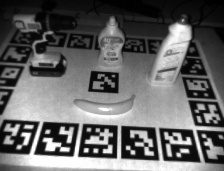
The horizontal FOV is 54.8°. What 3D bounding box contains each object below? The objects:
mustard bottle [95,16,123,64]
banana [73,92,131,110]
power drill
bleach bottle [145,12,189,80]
[{"bbox_3d":[-0.010,-0.162,0.765,0.096,0.192,0.058,-3,50,-9],"label":"mustard bottle"},{"bbox_3d":[-0.022,0.042,0.676,0.198,0.039,0.074,-3,52,-4],"label":"banana"},{"bbox_3d":[-0.198,-0.157,0.700,0.185,0.188,0.057,-4,50,-3],"label":"power drill"},{"bbox_3d":[0.181,-0.124,0.709,0.102,0.252,0.068,9,49,3],"label":"bleach bottle"}]
